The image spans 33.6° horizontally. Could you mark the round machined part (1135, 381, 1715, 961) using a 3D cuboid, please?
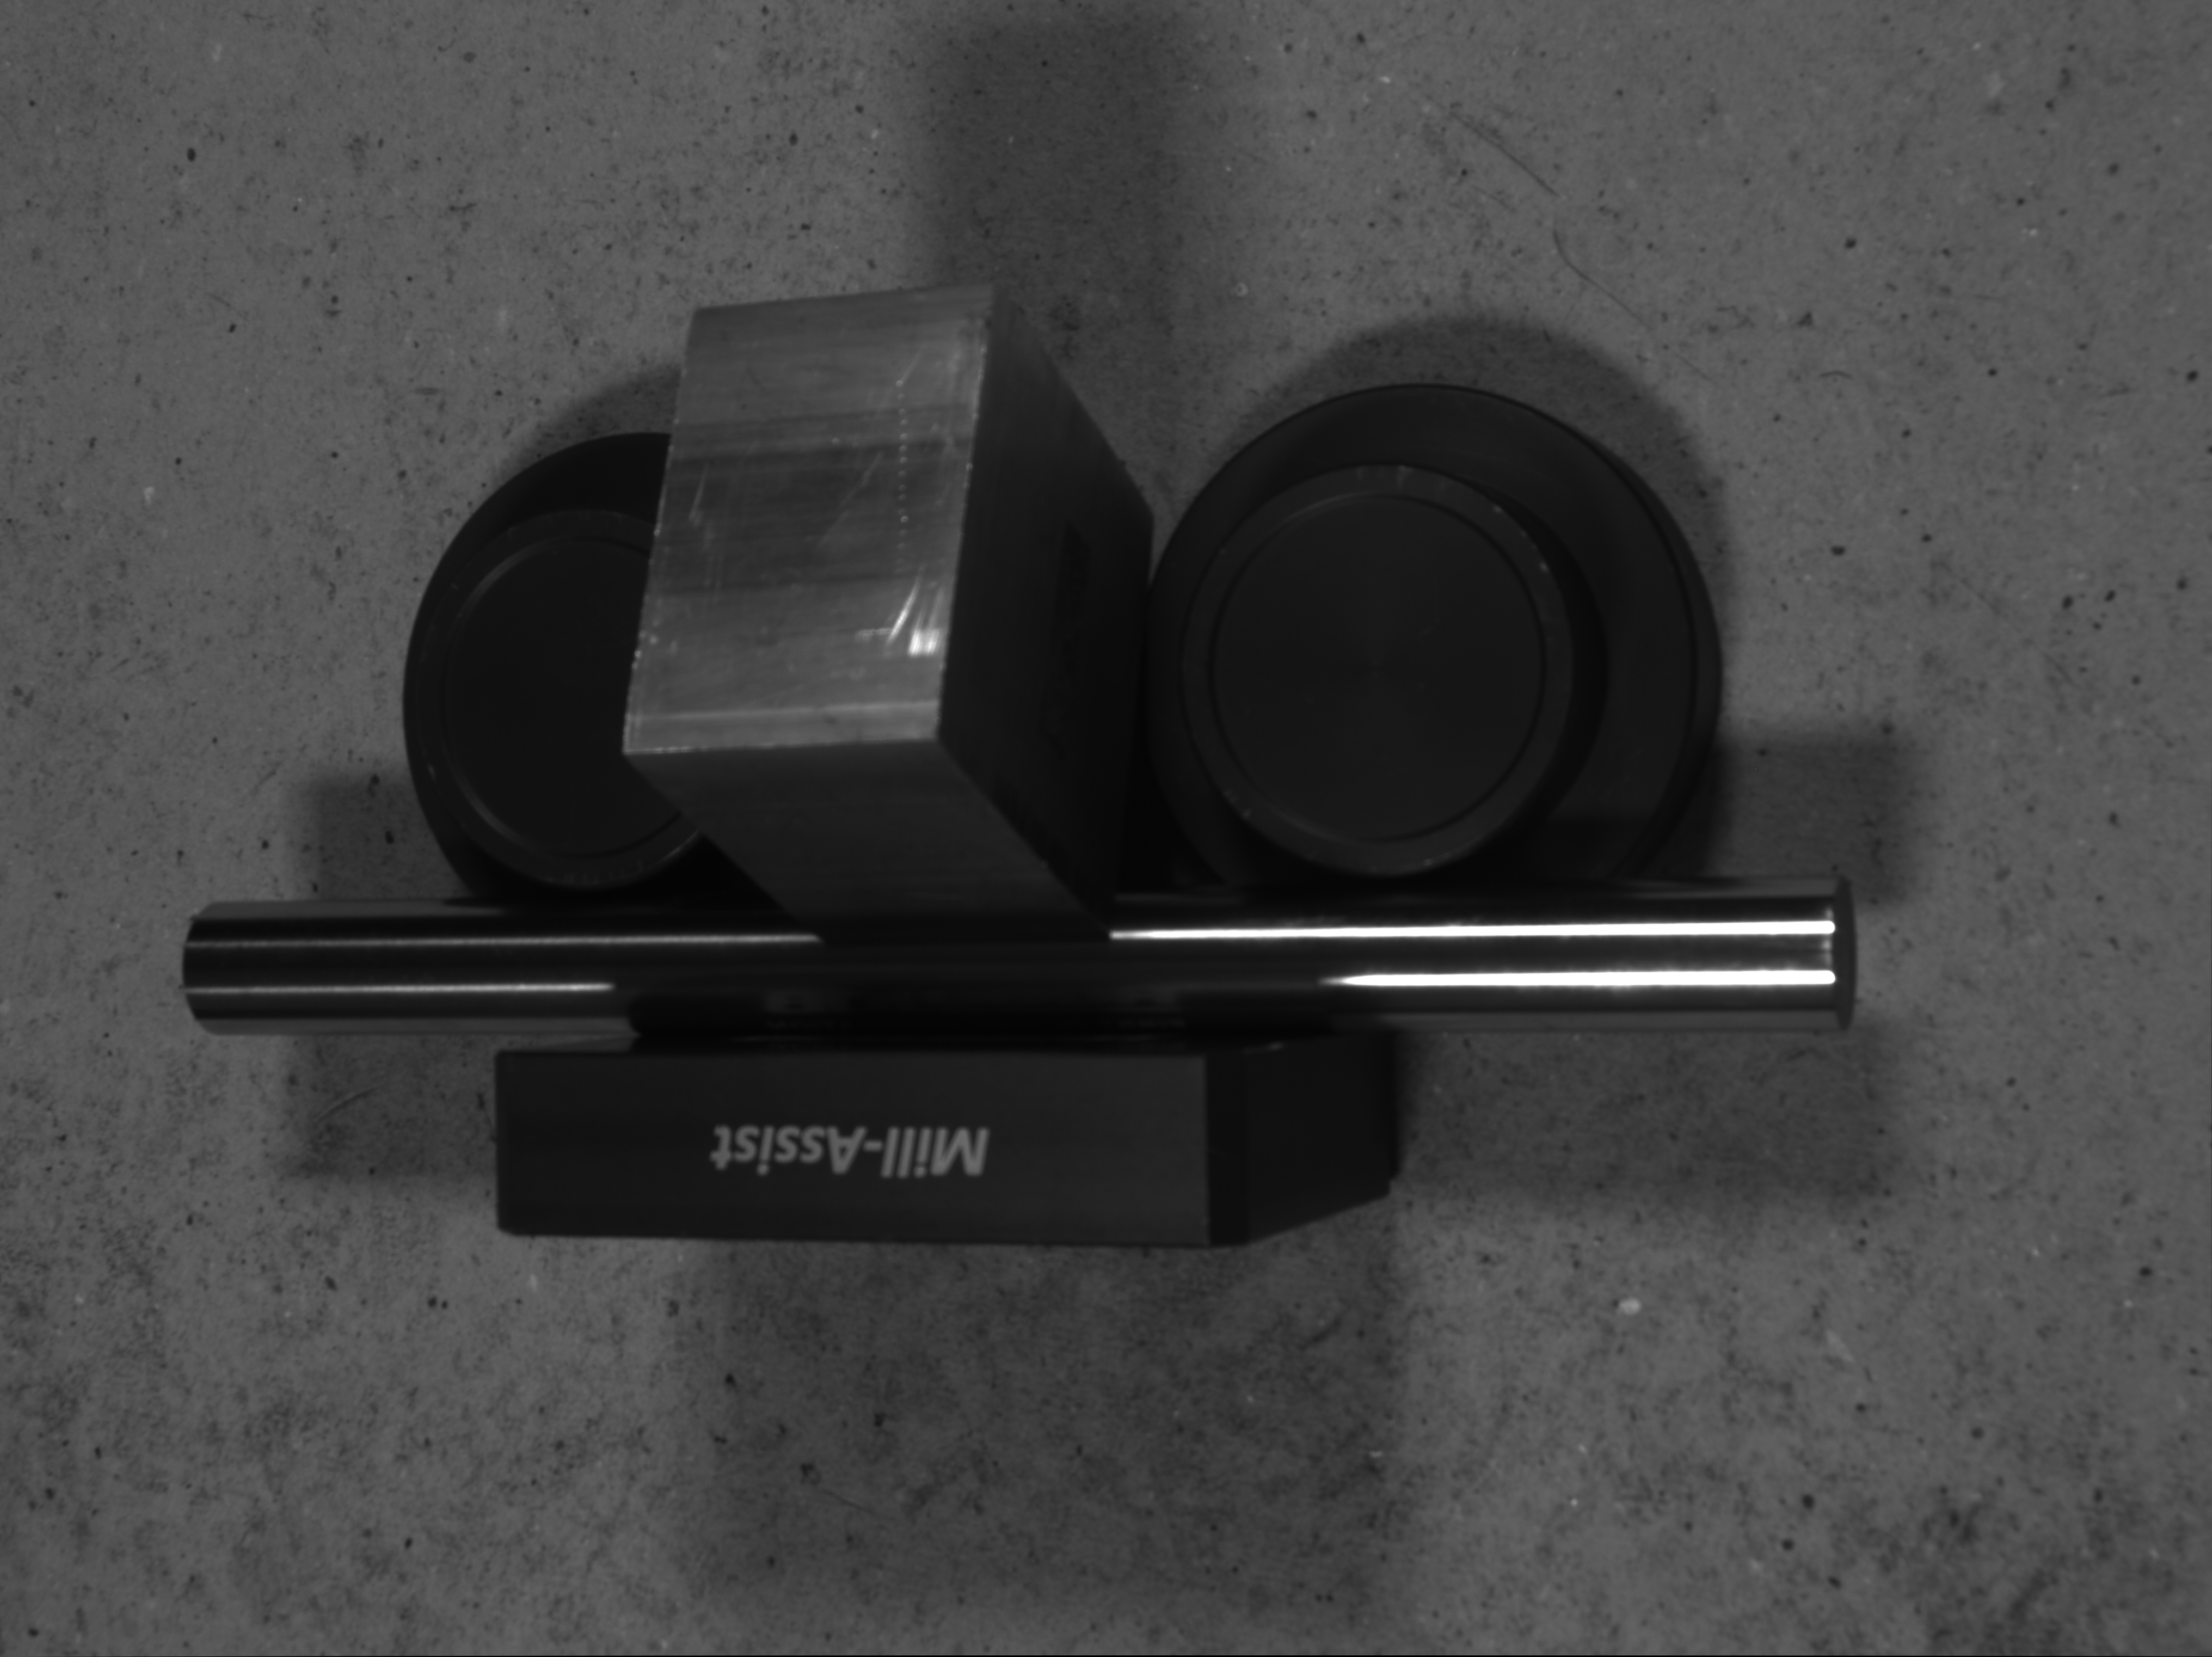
[{"bbox_3d":[0.050,-0.026,0.617,0.098,0.042,0.098,0,90,20],"label":"round machined part"}]

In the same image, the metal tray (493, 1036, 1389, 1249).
[{"bbox_3d":[-0.026,0.050,0.619,0.130,0.090,0.030,-1,89,20],"label":"metal tray"}]

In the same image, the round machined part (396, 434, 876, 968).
[{"bbox_3d":[-0.087,-0.023,0.664,0.098,0.042,0.098,0,90,20],"label":"round machined part"}]

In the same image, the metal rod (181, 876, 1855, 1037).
[{"bbox_3d":[-0.024,0.023,0.631,0.299,0.025,0.025,-1,89,20],"label":"metal rod"}]

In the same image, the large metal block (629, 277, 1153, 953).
[{"bbox_3d":[-0.032,-0.032,0.598,0.050,0.080,0.080,-2,65,19],"label":"large metal block"}]
